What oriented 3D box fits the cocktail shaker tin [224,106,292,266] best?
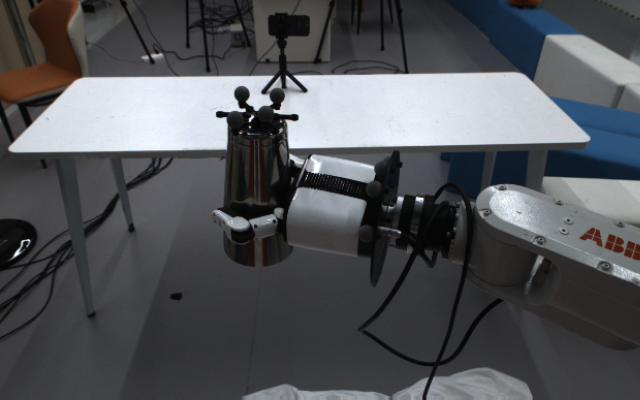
[{"bbox_3d":[-0.071,-0.015,0.579,0.093,0.170,0.093,3,34,-2],"label":"cocktail shaker tin"}]
